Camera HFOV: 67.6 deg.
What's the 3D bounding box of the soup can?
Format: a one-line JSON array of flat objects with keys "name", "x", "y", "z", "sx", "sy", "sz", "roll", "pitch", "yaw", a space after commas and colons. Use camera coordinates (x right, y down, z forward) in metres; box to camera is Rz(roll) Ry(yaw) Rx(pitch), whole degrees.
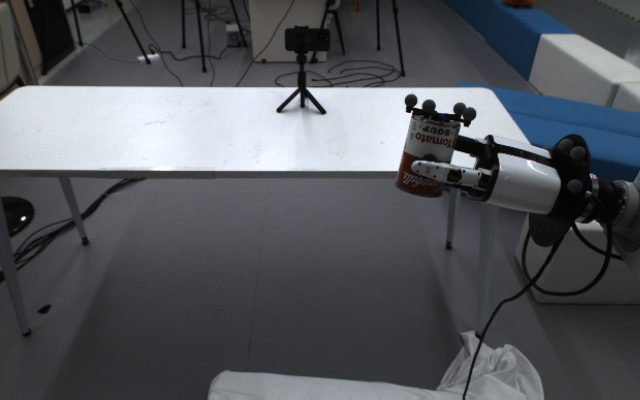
[{"name": "soup can", "x": 0.148, "y": -0.064, "z": 0.666, "sx": 0.067, "sy": 0.101, "sz": 0.067, "roll": 9, "pitch": 20, "yaw": -3}]
